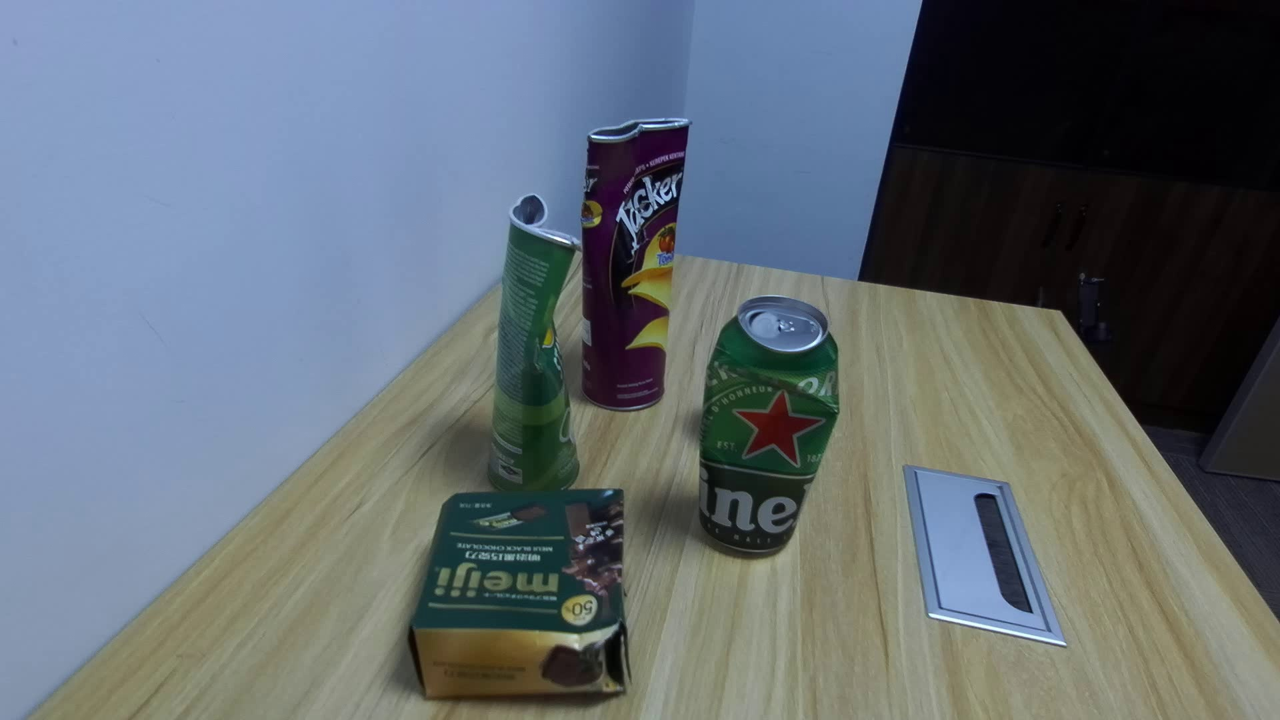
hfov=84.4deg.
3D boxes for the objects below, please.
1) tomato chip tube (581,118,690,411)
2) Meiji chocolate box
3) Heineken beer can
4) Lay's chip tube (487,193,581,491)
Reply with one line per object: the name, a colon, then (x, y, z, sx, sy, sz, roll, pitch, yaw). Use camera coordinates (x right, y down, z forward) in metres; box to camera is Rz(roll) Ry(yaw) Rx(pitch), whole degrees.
tomato chip tube: (-0.008, -0.073, 0.588, 0.090, 0.236, 0.077, 2, 30, -9)
Meiji chocolate box: (-0.064, 0.130, 0.405, 0.116, 0.058, 0.122, 1, 28, -3)
Heineken beer can: (0.078, 0.047, 0.450, 0.069, 0.168, 0.068, -21, 39, -34)
Lay's chip tube: (-0.073, -0.004, 0.487, 0.077, 0.201, 0.069, 26, 36, 30)
